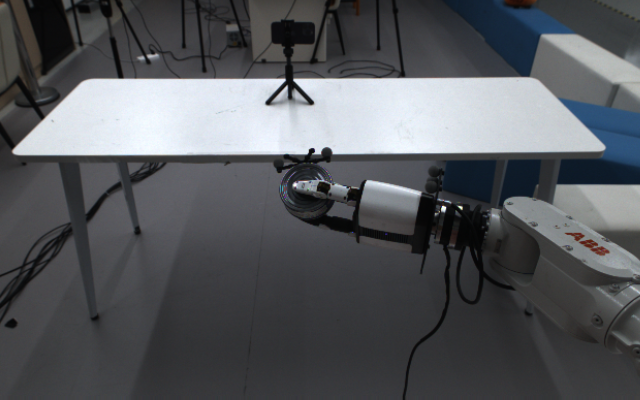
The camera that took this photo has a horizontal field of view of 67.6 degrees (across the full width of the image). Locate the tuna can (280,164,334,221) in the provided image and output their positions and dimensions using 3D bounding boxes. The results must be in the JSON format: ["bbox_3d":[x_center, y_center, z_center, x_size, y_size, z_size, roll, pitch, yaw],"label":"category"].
[{"bbox_3d":[-0.016,-0.009,0.749,0.085,0.034,0.085,-4,68,9],"label":"tuna can"}]
